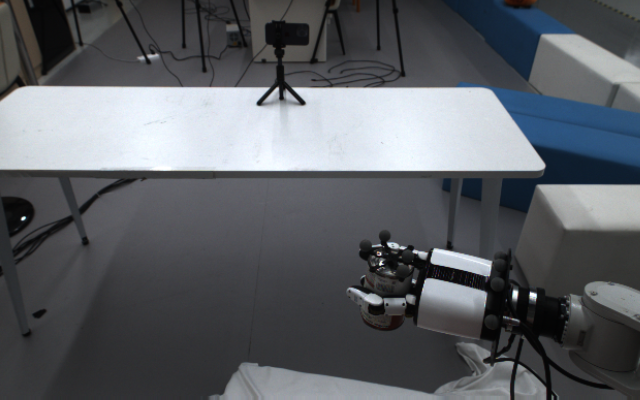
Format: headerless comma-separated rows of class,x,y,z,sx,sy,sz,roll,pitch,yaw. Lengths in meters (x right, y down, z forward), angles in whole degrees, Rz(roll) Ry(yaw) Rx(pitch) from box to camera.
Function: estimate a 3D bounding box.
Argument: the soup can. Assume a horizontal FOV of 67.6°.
soup can,0.098,0.129,0.701,0.067,0.101,0.067,3,30,-2
